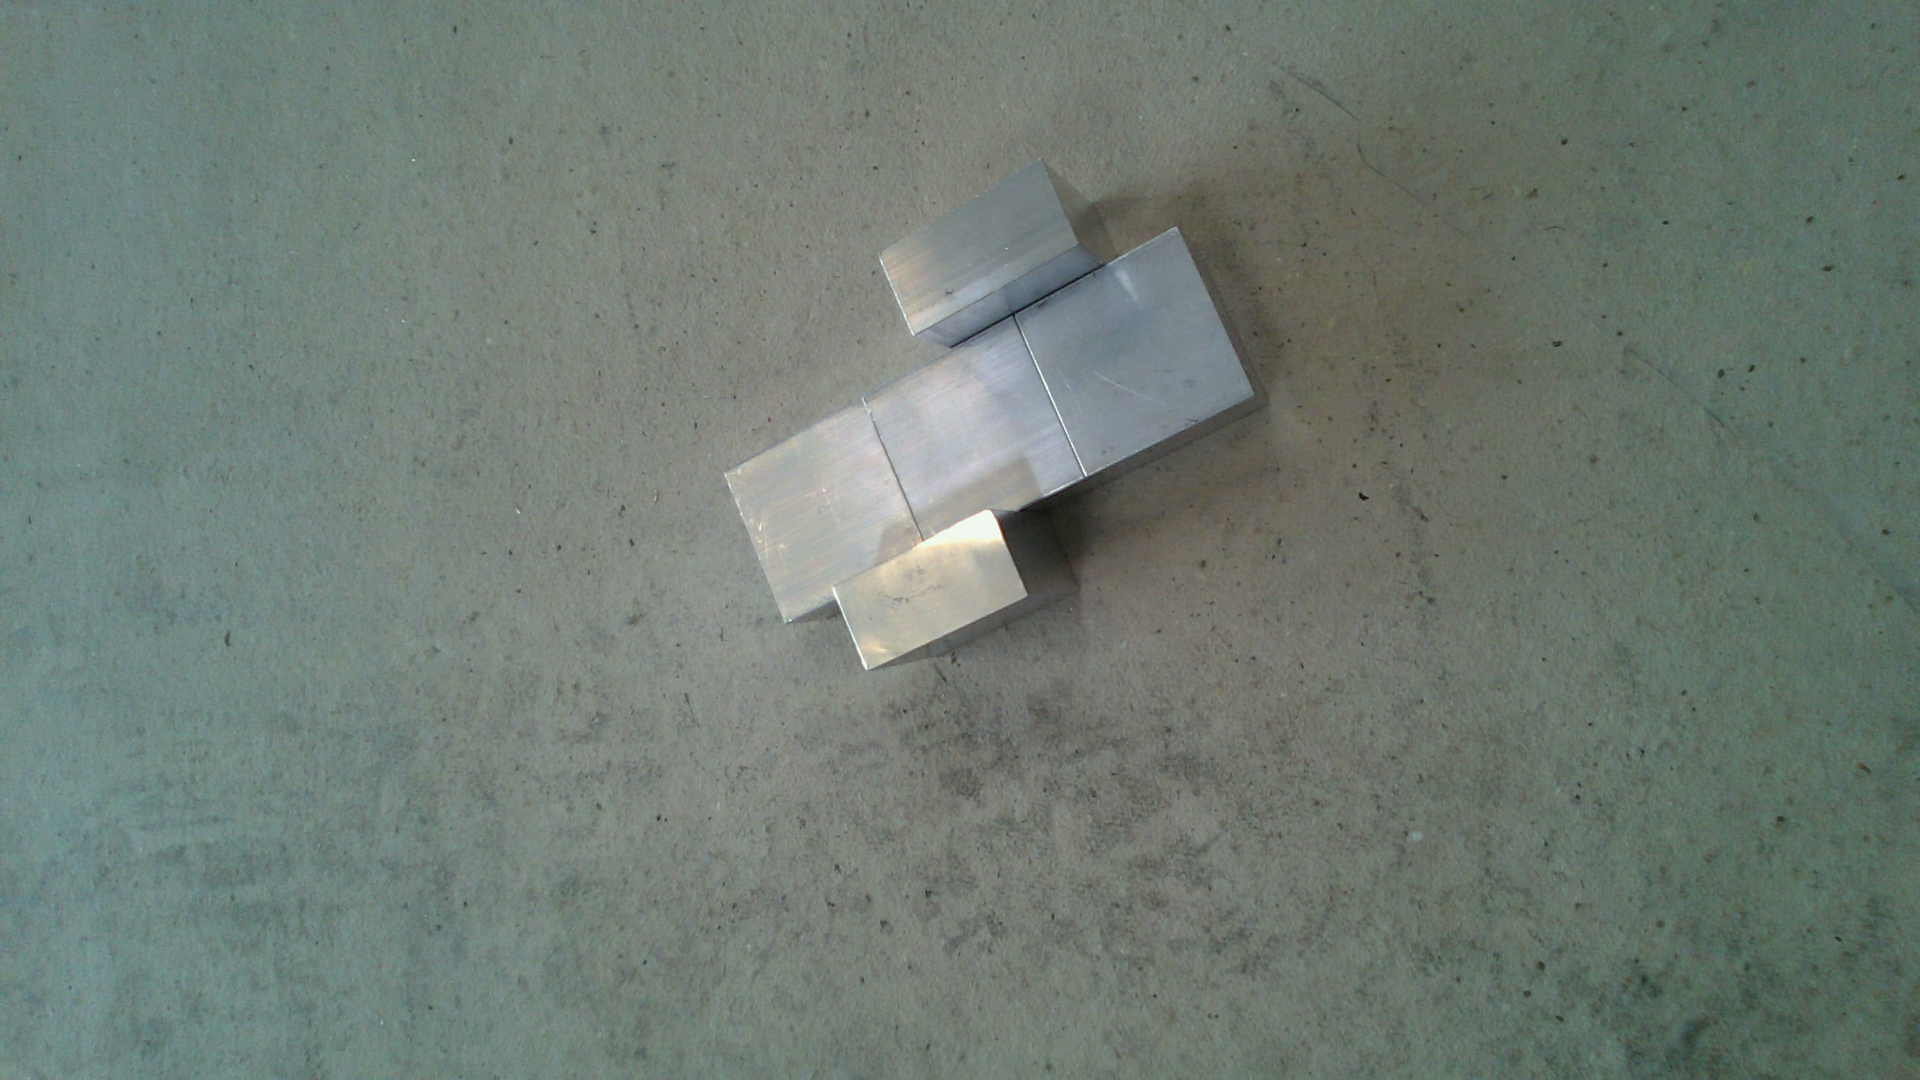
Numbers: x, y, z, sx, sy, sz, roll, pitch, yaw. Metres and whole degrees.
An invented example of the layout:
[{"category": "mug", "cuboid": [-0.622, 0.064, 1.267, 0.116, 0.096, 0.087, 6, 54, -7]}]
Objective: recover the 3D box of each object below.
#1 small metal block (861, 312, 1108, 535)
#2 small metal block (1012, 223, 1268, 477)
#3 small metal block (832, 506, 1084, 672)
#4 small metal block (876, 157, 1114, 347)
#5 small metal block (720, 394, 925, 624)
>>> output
[{"category": "small metal block", "cuboid": [0.007, -0.029, 0.393, 0.050, 0.025, 0.050, -26, 82, 18]}, {"category": "small metal block", "cuboid": [0.050, -0.050, 0.378, 0.050, 0.025, 0.050, -26, 82, 18]}, {"category": "small metal block", "cuboid": [0.001, 0.013, 0.383, 0.050, 0.050, 0.025, -26, 81, 18]}, {"category": "small metal block", "cuboid": [0.013, -0.076, 0.379, 0.050, 0.050, 0.025, -26, 82, 19]}, {"category": "small metal block", "cuboid": [-0.036, -0.009, 0.409, 0.050, 0.025, 0.050, -26, 82, 18]}]
